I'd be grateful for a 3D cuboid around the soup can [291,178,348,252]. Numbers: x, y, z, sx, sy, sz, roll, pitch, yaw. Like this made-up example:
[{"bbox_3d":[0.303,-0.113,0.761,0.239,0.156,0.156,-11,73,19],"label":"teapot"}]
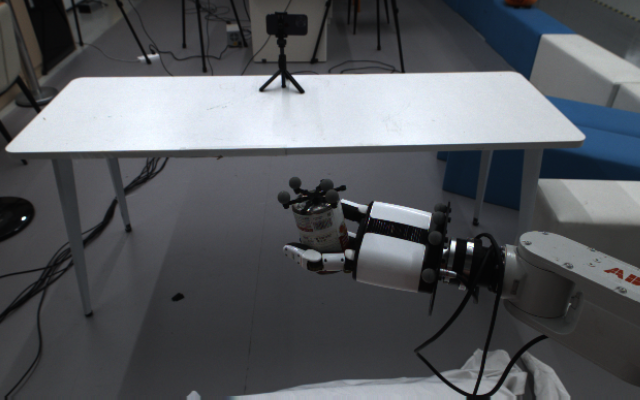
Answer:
[{"bbox_3d":[0.006,0.043,0.671,0.067,0.101,0.067,-11,27,6],"label":"soup can"}]
